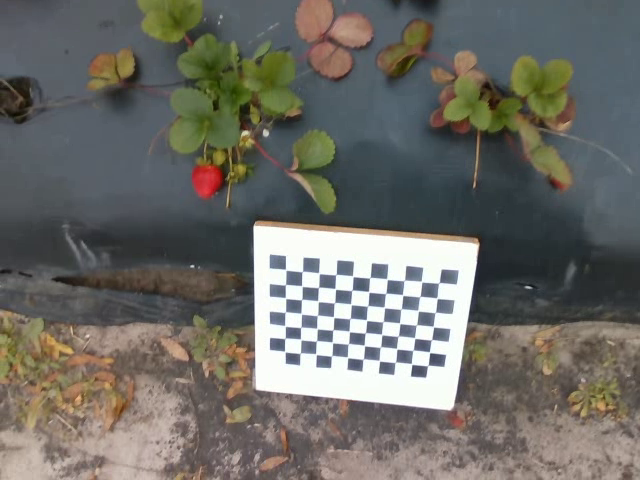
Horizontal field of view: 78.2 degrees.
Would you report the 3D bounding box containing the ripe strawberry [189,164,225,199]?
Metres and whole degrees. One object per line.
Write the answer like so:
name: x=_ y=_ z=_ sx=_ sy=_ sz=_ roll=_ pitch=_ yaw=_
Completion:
ripe strawberry: x=-0.041 y=-0.025 z=0.133 sx=0.018 sy=0.017 sz=0.014 roll=6 pitch=-18 yaw=-9
